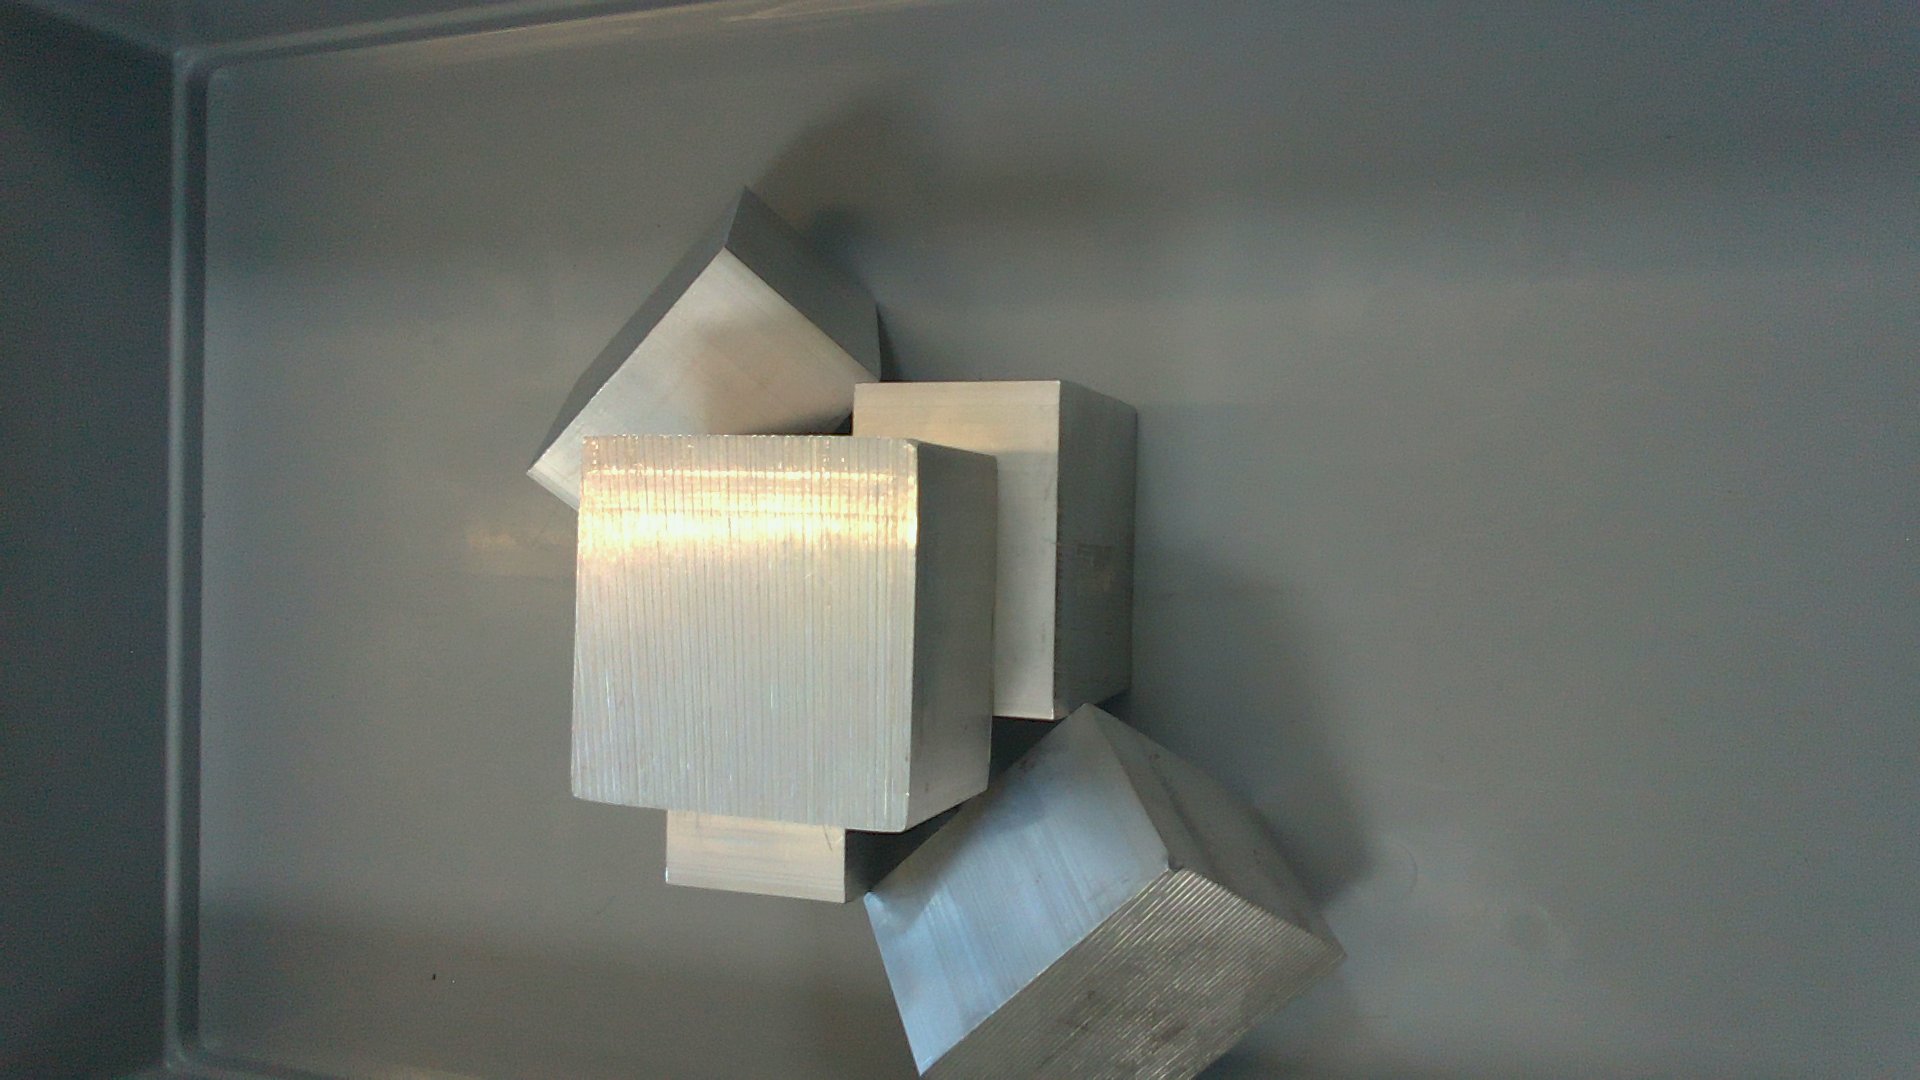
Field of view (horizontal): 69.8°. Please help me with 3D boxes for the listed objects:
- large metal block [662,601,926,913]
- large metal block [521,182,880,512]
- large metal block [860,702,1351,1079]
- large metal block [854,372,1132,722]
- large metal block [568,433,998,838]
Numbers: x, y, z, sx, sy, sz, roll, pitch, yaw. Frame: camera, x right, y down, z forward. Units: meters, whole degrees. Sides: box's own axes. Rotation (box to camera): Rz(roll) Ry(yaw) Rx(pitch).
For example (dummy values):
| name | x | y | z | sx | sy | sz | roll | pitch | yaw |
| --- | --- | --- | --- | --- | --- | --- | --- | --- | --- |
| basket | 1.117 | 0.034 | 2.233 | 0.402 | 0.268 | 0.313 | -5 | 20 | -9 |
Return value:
| name | x | y | z | sx | sy | sz | roll | pitch | yaw |
| --- | --- | --- | --- | --- | --- | --- | --- | --- | --- |
| large metal block | -0.038 | 0.050 | 0.380 | 0.050 | 0.080 | 0.080 | 1 | 90 | 20 |
| large metal block | -0.069 | -0.045 | 0.382 | 0.050 | 0.080 | 0.080 | 40 | 105 | -20 |
| large metal block | 0.036 | 0.097 | 0.345 | 0.080 | 0.080 | 0.050 | -43 | 41 | 15 |
| large metal block | 0.011 | 0.001 | 0.360 | 0.050 | 0.080 | 0.080 | 1 | 90 | 20 |
| large metal block | -0.038 | 0.018 | 0.309 | 0.080 | 0.050 | 0.080 | 2 | 91 | 20 |
